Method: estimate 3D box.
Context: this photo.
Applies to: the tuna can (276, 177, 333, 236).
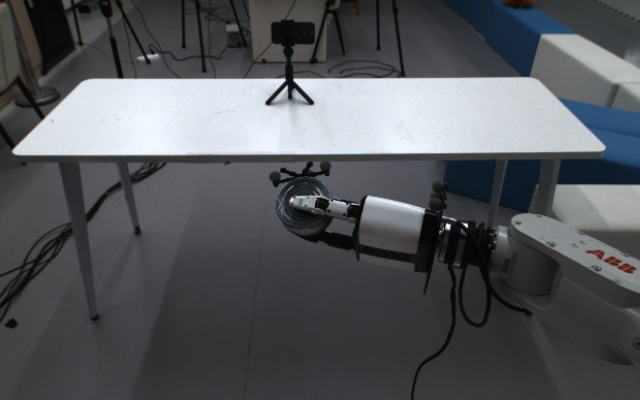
[{"bbox_3d":[-0.018,0.014,0.715,0.085,0.034,0.085,-4,68,9],"label":"tuna can"}]
